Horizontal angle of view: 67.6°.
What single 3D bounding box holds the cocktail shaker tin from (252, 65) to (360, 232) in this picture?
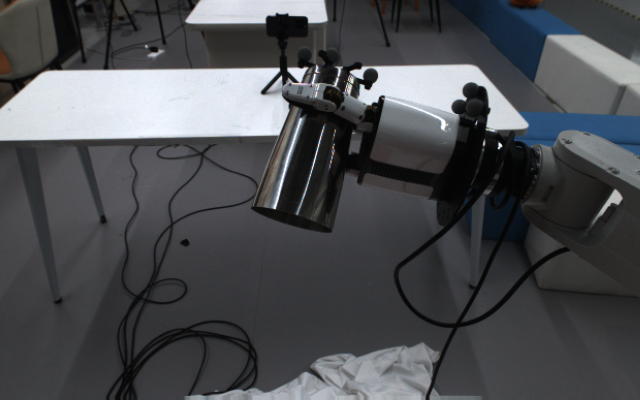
[{"bbox_3d":[-0.005,-0.061,0.539,0.093,0.093,0.170,13,79,15],"label":"cocktail shaker tin"}]
